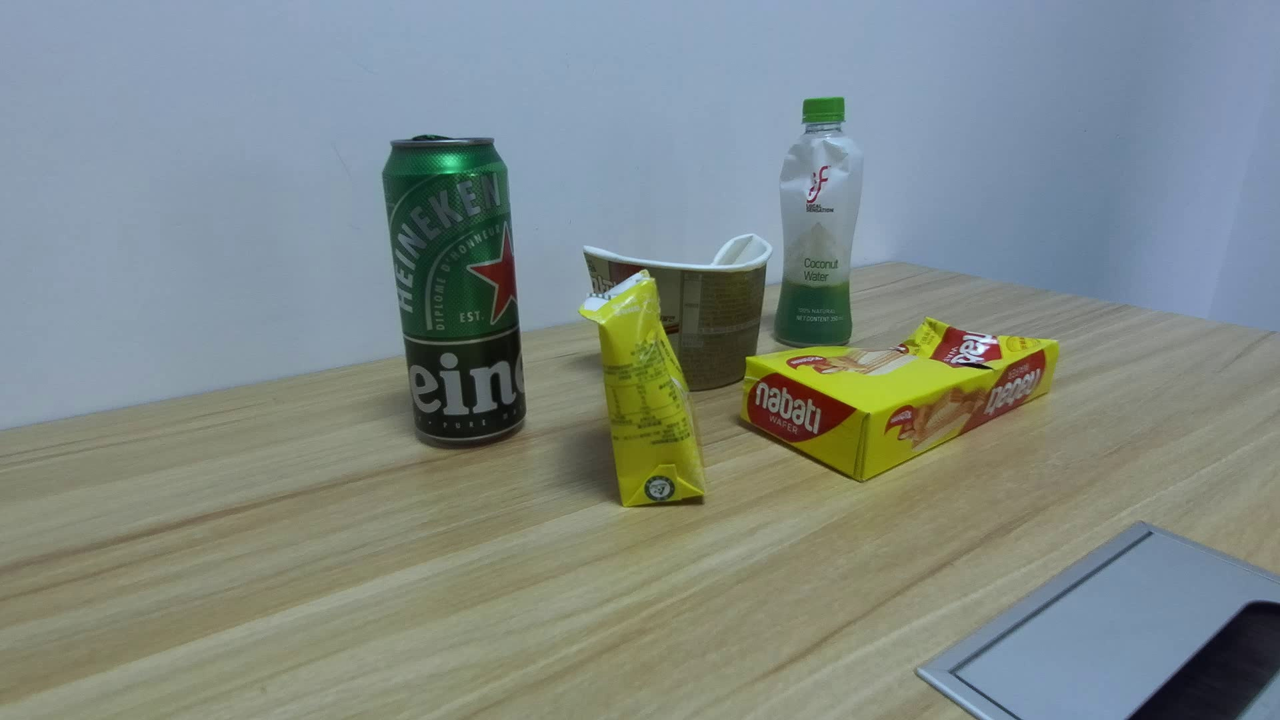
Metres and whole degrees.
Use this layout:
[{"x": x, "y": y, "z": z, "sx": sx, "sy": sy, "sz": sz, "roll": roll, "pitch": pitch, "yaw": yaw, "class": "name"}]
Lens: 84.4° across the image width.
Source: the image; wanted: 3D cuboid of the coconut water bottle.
[{"x": 0.138, "y": -0.105, "z": 0.554, "sx": 0.069, "sy": 0.186, "sz": 0.069, "roll": -2, "pitch": 16, "yaw": 1, "class": "coconut water bottle"}]

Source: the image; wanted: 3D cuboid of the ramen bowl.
[{"x": 0.028, "y": -0.037, "z": 0.504, "sx": 0.137, "sy": 0.098, "sz": 0.137, "roll": -3, "pitch": 20, "yaw": 1, "class": "ramen bowl"}]

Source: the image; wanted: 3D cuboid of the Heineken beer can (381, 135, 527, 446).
[{"x": -0.104, "y": -0.037, "z": 0.406, "sx": 0.067, "sy": 0.169, "sz": 0.067, "roll": -1, "pitch": 18, "yaw": 1, "class": "Heineken beer can"}]

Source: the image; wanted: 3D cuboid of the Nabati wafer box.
[{"x": 0.166, "y": 0.011, "z": 0.447, "sx": 0.205, "sy": 0.042, "sz": 0.106, "roll": -13, "pitch": 24, "yaw": -34, "class": "Nabati wafer box"}]

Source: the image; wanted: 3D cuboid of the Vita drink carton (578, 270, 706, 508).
[{"x": 0.001, "y": 0.012, "z": 0.352, "sx": 0.042, "sy": 0.108, "sz": 0.087, "roll": -14, "pitch": 14, "yaw": 7, "class": "Vita drink carton"}]
